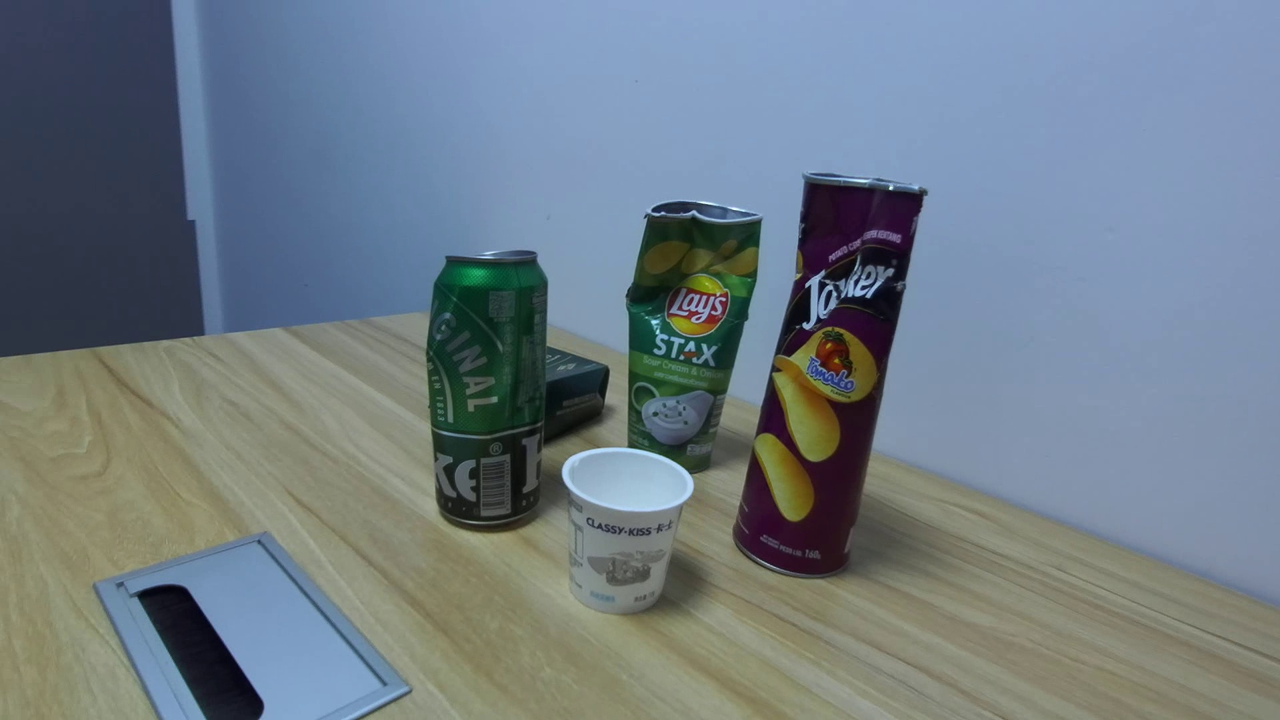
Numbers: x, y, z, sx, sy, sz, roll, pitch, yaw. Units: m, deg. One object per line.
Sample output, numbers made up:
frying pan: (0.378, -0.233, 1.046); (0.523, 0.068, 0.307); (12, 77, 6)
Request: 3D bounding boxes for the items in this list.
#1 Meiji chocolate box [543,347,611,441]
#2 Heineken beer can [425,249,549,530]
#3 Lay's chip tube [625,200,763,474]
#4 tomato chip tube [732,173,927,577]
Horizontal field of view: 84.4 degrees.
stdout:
Meiji chocolate box: (-0.100, 0.026, 0.621); (0.122, 0.058, 0.116); (14, 18, 27)
Heineken beer can: (-0.094, 0.019, 0.444); (0.068, 0.168, 0.069); (1, 13, -7)
Lay's chip tube: (0.034, -0.018, 0.537); (0.077, 0.201, 0.069); (-2, 19, -18)
tomato chip tube: (0.110, 0.010, 0.425); (0.077, 0.235, 0.090); (13, 21, 21)
